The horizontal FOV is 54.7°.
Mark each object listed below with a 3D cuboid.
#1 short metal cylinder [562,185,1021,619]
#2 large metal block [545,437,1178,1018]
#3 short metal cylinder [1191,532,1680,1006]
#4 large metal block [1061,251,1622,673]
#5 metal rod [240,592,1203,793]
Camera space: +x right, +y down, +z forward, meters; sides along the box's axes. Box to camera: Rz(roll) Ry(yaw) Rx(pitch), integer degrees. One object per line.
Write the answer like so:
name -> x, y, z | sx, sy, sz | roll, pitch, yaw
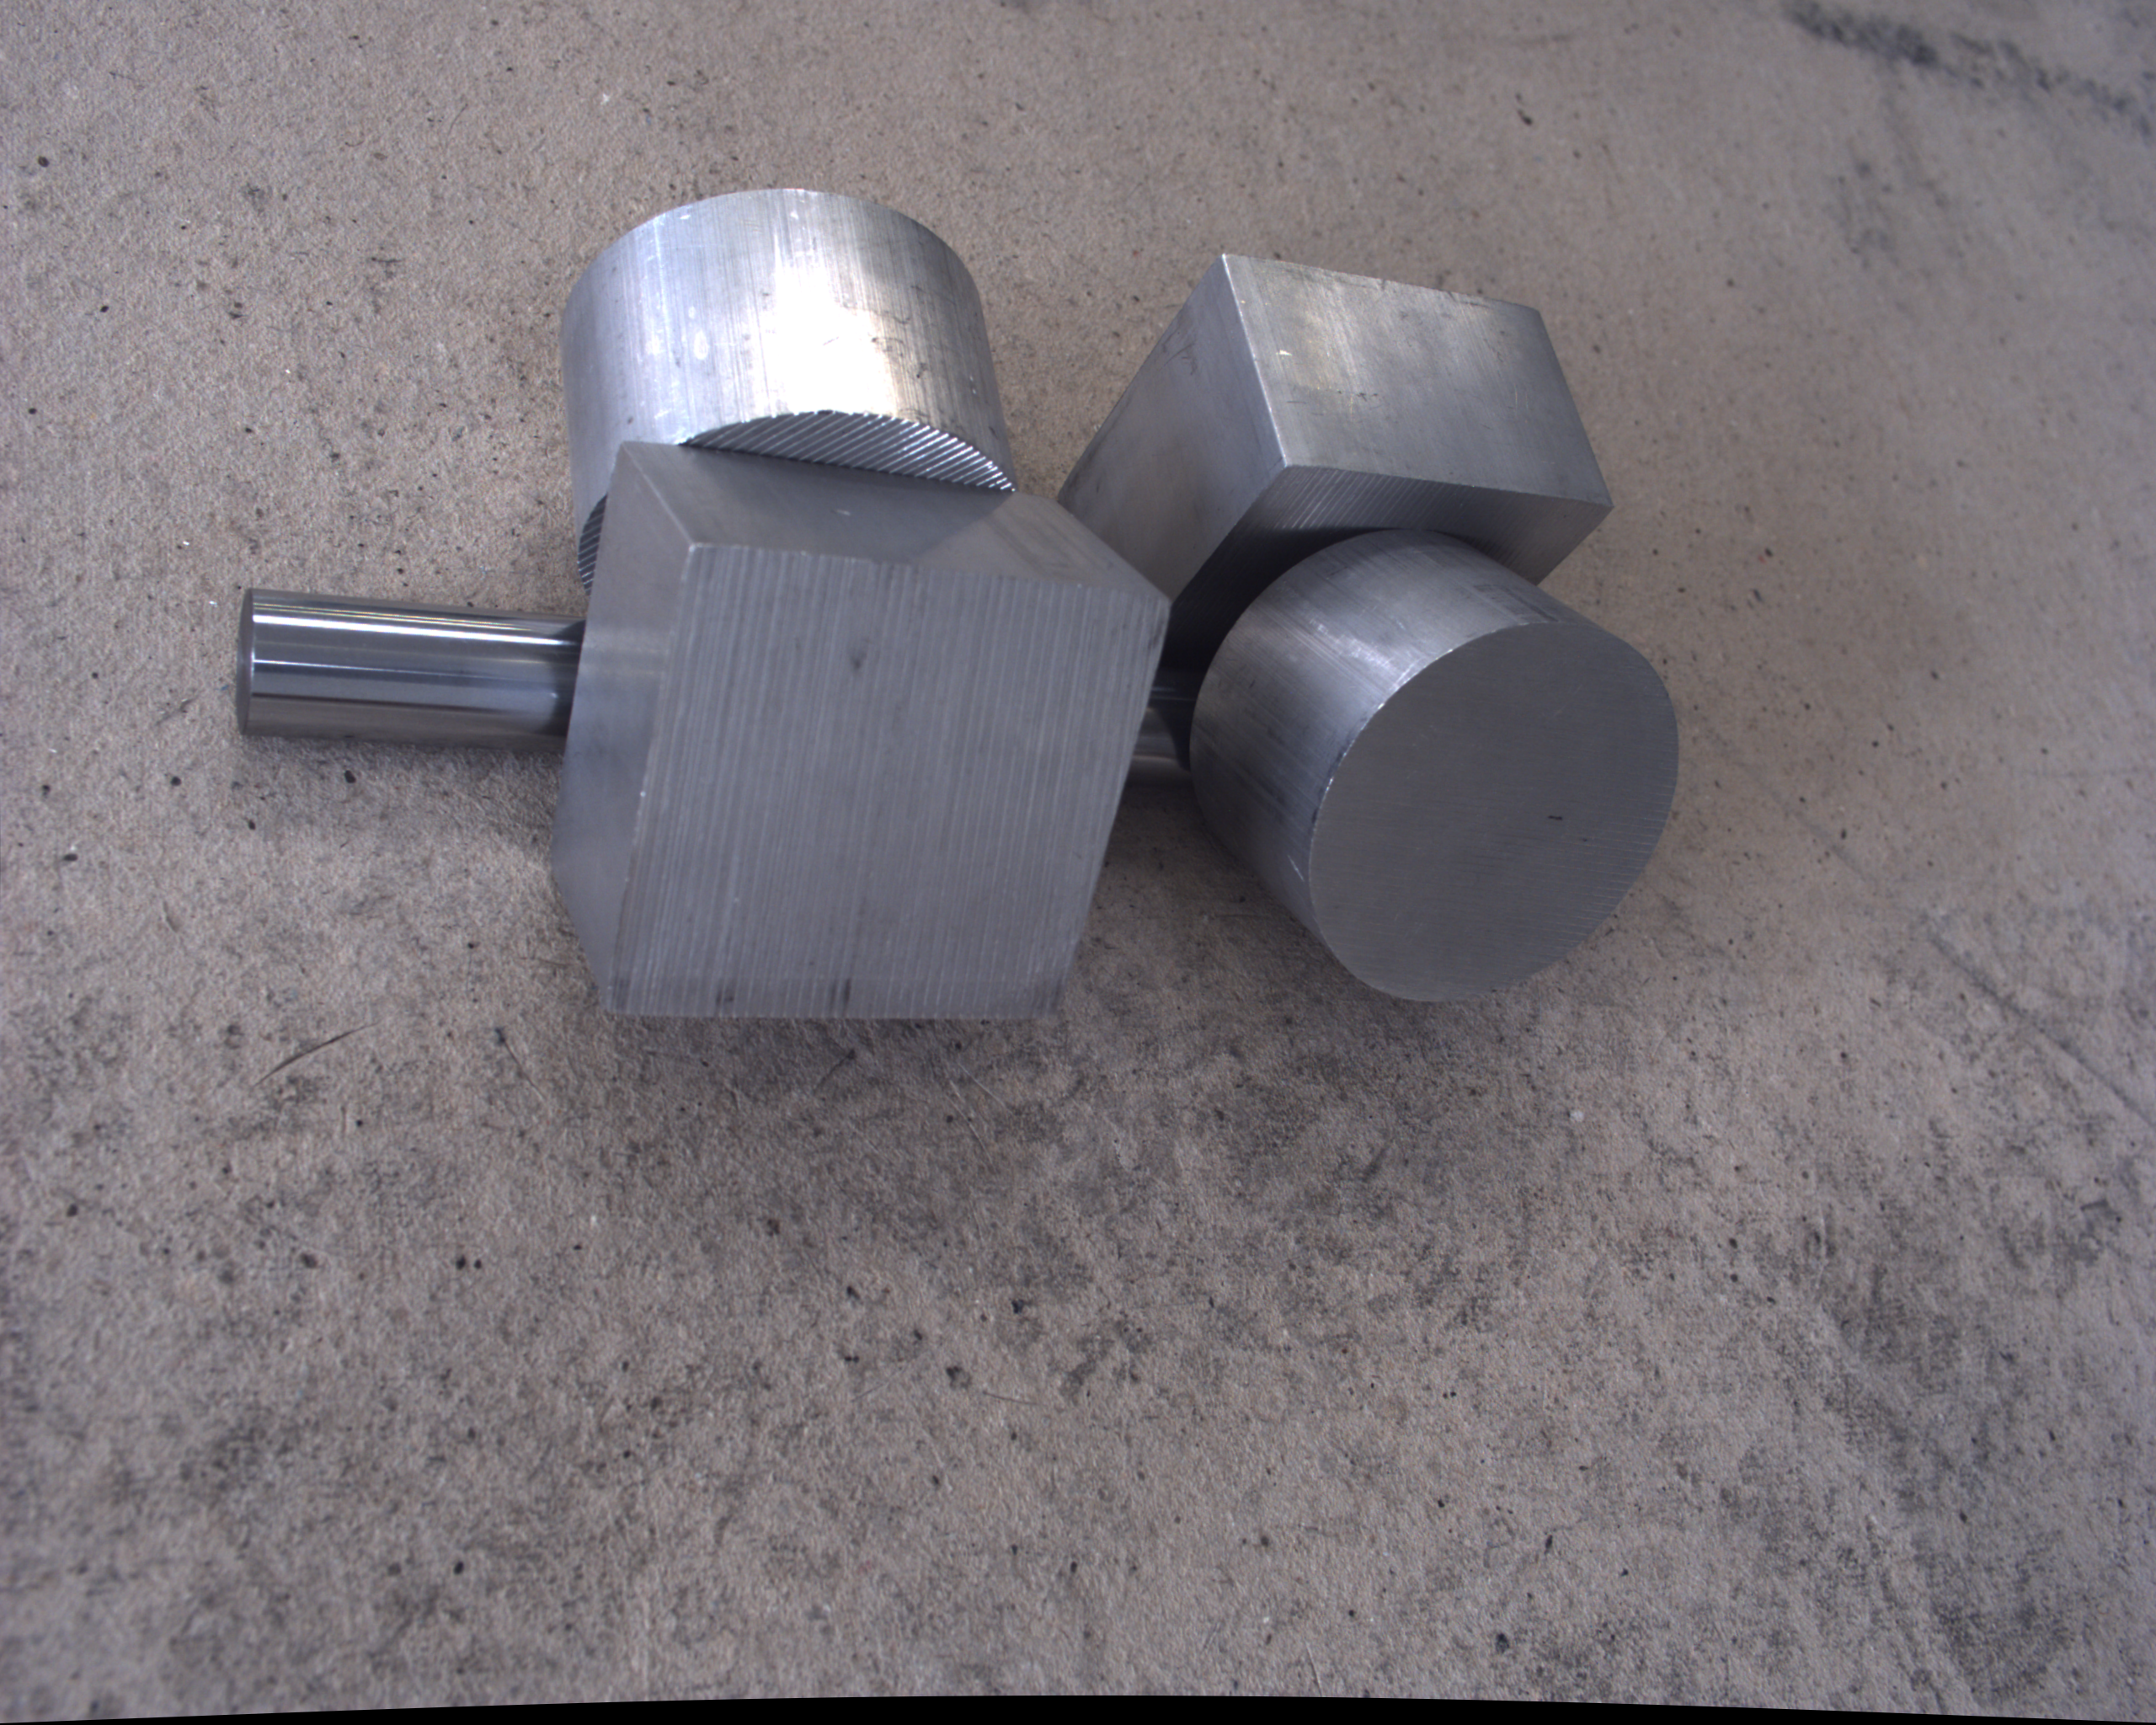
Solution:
short metal cylinder -> -0.053, -0.078, 0.388 | 0.081, 0.080, 0.050 | 3, 60, -27
large metal block -> -0.039, -0.021, 0.354 | 0.081, 0.079, 0.050 | 3, 26, -27
short metal cylinder -> 0.069, -0.019, 0.411 | 0.081, 0.079, 0.050 | 2, 26, -27
large metal block -> 0.053, -0.078, 0.445 | 0.081, 0.080, 0.050 | 1, 61, -28
metal rod -> -0.006, -0.028, 0.421 | 0.303, 0.025, 0.025 | 2, 61, -27
